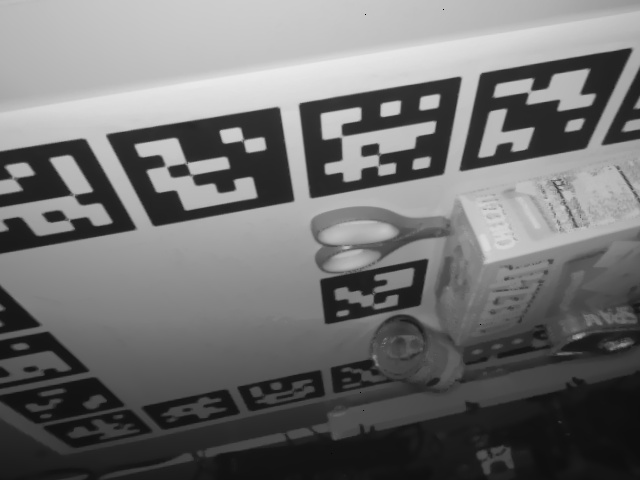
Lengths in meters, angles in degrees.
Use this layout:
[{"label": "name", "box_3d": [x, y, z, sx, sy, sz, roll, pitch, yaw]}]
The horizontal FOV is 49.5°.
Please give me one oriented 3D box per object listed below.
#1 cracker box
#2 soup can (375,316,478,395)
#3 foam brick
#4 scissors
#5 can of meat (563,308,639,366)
[{"label": "cracker box", "box_3d": [0.229, 0.005, 0.575, 0.214, 0.072, 0.163, -16, 144, -2]}, {"label": "soup can", "box_3d": [0.115, 0.125, 0.739, 0.067, 0.068, 0.103, -34, 143, 26]}, {"label": "foam brick", "box_3d": [0.194, 0.095, 0.724, 0.078, 0.051, 0.052, -16, 142, 5]}, {"label": "scissors", "box_3d": [0.108, -0.021, 0.558, 0.203, 0.016, 0.087, -13, 143, 0]}, {"label": "can of meat", "box_3d": [0.289, 0.074, 0.694, 0.103, 0.084, 0.057, -1, 141, -14]}]
